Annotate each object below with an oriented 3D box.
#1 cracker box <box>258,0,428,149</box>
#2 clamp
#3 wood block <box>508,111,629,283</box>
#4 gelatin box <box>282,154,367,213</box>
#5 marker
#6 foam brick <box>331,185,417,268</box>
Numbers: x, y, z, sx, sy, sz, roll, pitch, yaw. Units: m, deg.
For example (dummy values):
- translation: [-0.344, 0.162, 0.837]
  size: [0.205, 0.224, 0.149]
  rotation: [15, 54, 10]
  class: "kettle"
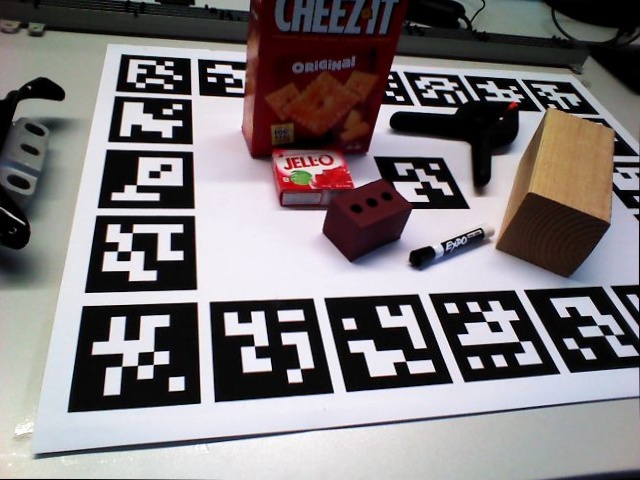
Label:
- translation: [0.017, -0.209, 0.602]
  size: [0.164, 0.215, 0.072]
  rotation: [-3, 49, -17]
  class: "cracker box"
- translation: [0.235, -0.156, 0.726]
  size: [0.201, 0.037, 0.165]
  rotation: [-29, 60, -31]
  class: "clamp"
- translation: [0.302, -0.060, 0.622]
  size: [0.090, 0.091, 0.204]
  rotation: [23, 46, 12]
  class: "wood block"
- translation: [0.004, -0.068, 0.608]
  size: [0.089, 0.030, 0.073]
  rotation: [-2, 51, -14]
  class: "gelatin box"
- translation: [0.150, 0.014, 0.567]
  size: [0.120, 0.020, 0.019]
  rotation: [-18, 57, -25]
  class: "marker"
- translation: [0.060, -0.017, 0.555]
  size: [0.077, 0.051, 0.053]
  rotation: [-23, 59, -28]
  class: "foam brick"
